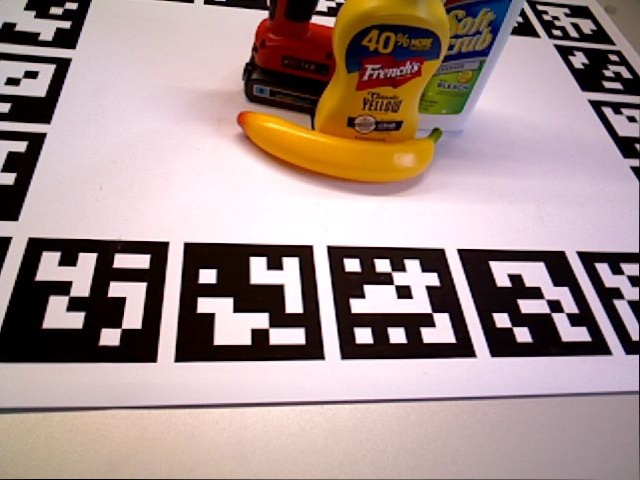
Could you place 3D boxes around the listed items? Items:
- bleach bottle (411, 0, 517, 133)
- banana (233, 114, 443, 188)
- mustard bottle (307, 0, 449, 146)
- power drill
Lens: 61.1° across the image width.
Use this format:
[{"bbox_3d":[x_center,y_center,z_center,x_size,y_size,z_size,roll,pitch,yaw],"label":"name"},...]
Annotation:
[{"bbox_3d":[0.119,-0.215,0.469,0.102,0.257,0.067,5,47,-8],"label":"bleach bottle"},{"bbox_3d":[0.019,-0.082,0.491,0.196,0.040,0.073,5,54,-4],"label":"banana"},{"bbox_3d":[0.051,-0.158,0.443,0.095,0.196,0.057,3,53,-10],"label":"mustard bottle"},{"bbox_3d":[0.009,-0.228,0.462,0.183,0.191,0.056,13,50,-3],"label":"power drill"}]
